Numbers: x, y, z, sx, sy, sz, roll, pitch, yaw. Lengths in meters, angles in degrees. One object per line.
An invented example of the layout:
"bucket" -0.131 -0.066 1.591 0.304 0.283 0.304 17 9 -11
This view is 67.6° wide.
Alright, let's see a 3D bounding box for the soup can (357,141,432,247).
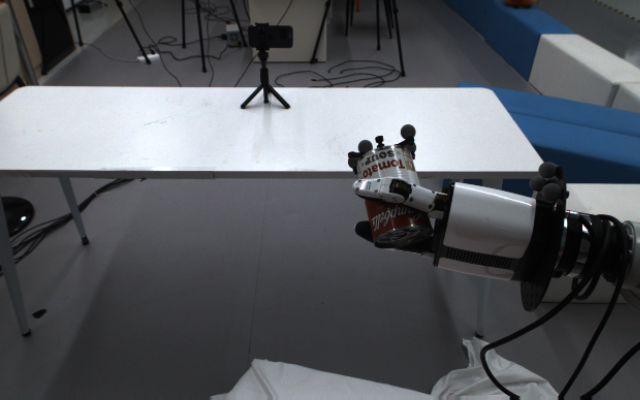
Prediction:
"soup can" 0.086 -0.004 0.558 0.067 0.067 0.101 -6 68 -12
